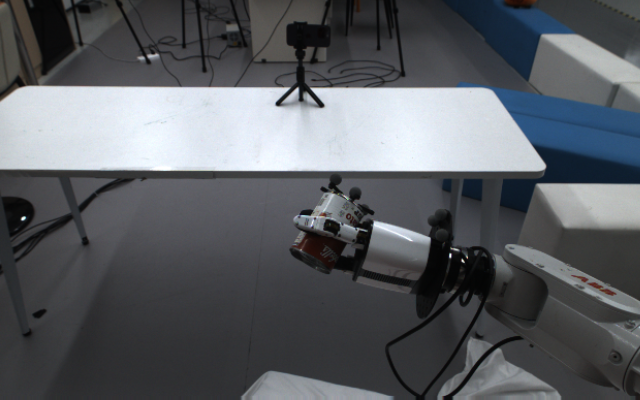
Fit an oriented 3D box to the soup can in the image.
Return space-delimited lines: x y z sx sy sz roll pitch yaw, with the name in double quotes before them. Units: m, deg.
"soup can" 0.011 0.046 0.693 0.067 0.067 0.101 23 71 27
